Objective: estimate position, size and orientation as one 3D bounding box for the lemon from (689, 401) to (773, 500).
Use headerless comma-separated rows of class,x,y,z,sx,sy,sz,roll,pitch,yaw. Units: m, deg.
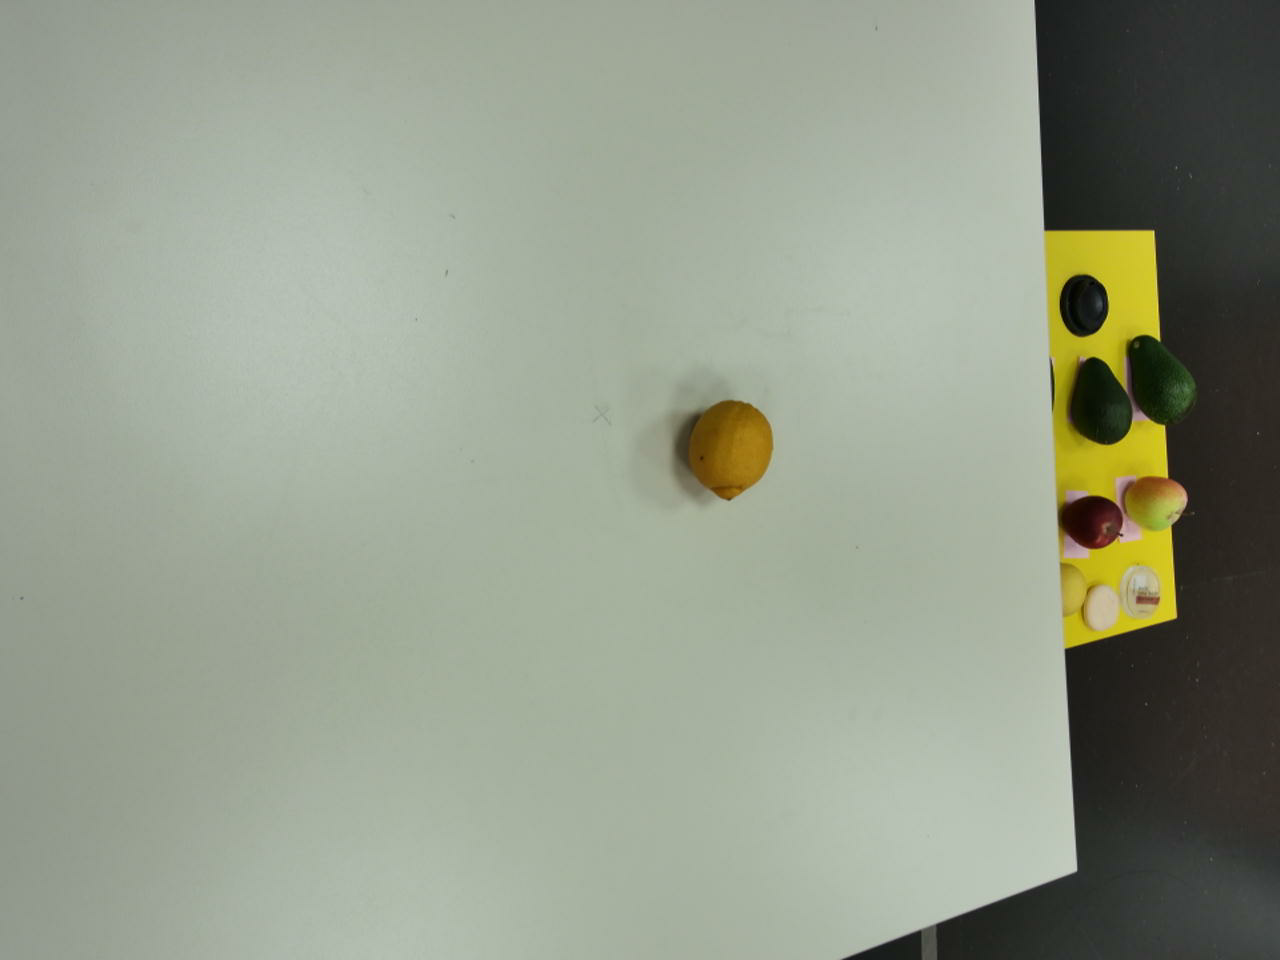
lemon,0.065,-0.023,0.722,0.061,0.059,0.066,40,72,-22
